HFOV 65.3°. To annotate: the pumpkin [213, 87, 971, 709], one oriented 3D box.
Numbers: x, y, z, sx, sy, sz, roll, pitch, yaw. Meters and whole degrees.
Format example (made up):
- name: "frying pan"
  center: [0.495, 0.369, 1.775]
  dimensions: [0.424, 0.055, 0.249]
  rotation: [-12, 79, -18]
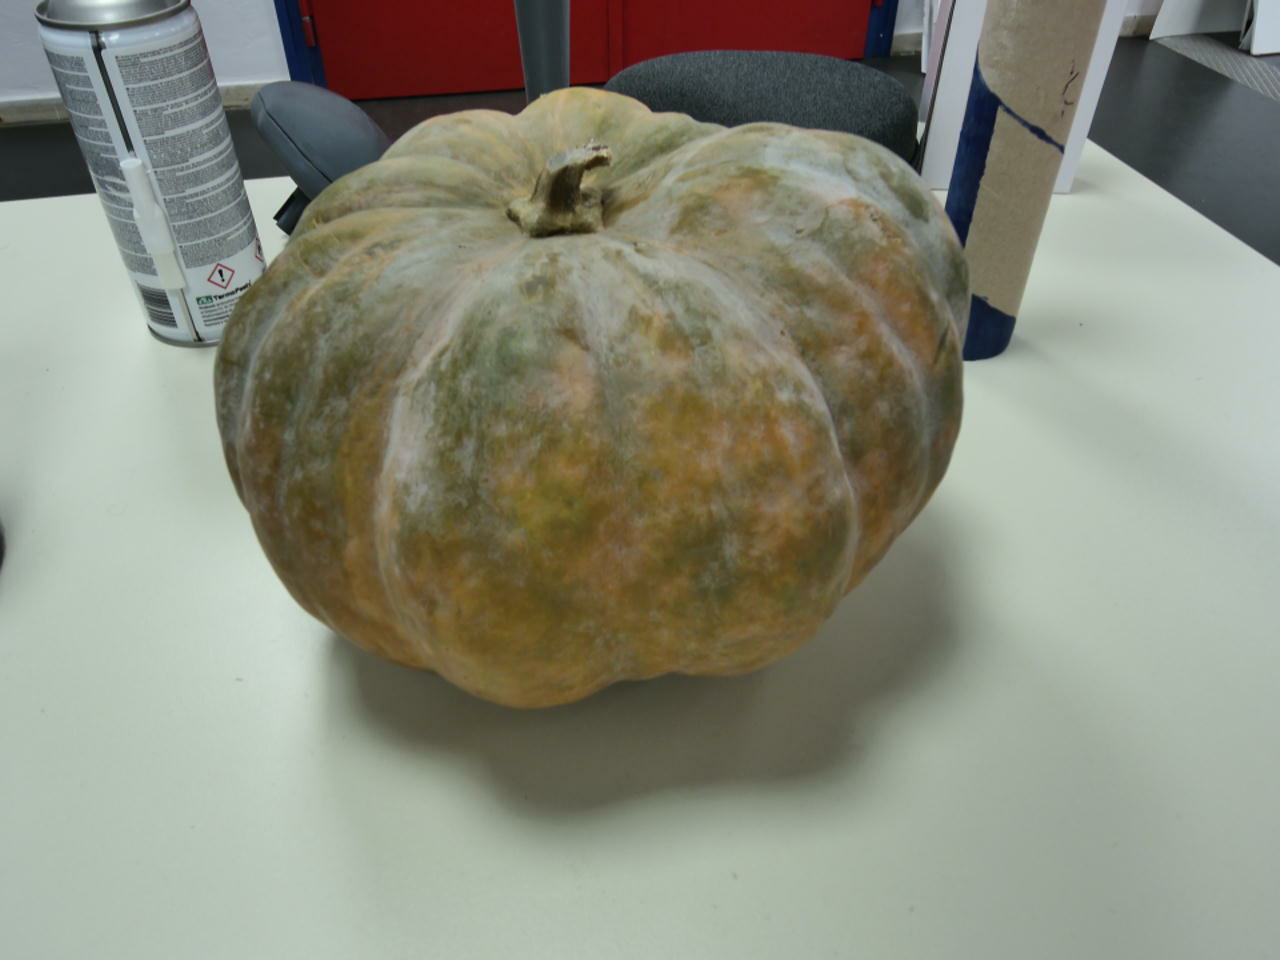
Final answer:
- name: "pumpkin"
  center: [-0.019, -0.036, 0.351]
  dimensions: [0.252, 0.169, 0.251]
  rotation: [0, 38, 0]
